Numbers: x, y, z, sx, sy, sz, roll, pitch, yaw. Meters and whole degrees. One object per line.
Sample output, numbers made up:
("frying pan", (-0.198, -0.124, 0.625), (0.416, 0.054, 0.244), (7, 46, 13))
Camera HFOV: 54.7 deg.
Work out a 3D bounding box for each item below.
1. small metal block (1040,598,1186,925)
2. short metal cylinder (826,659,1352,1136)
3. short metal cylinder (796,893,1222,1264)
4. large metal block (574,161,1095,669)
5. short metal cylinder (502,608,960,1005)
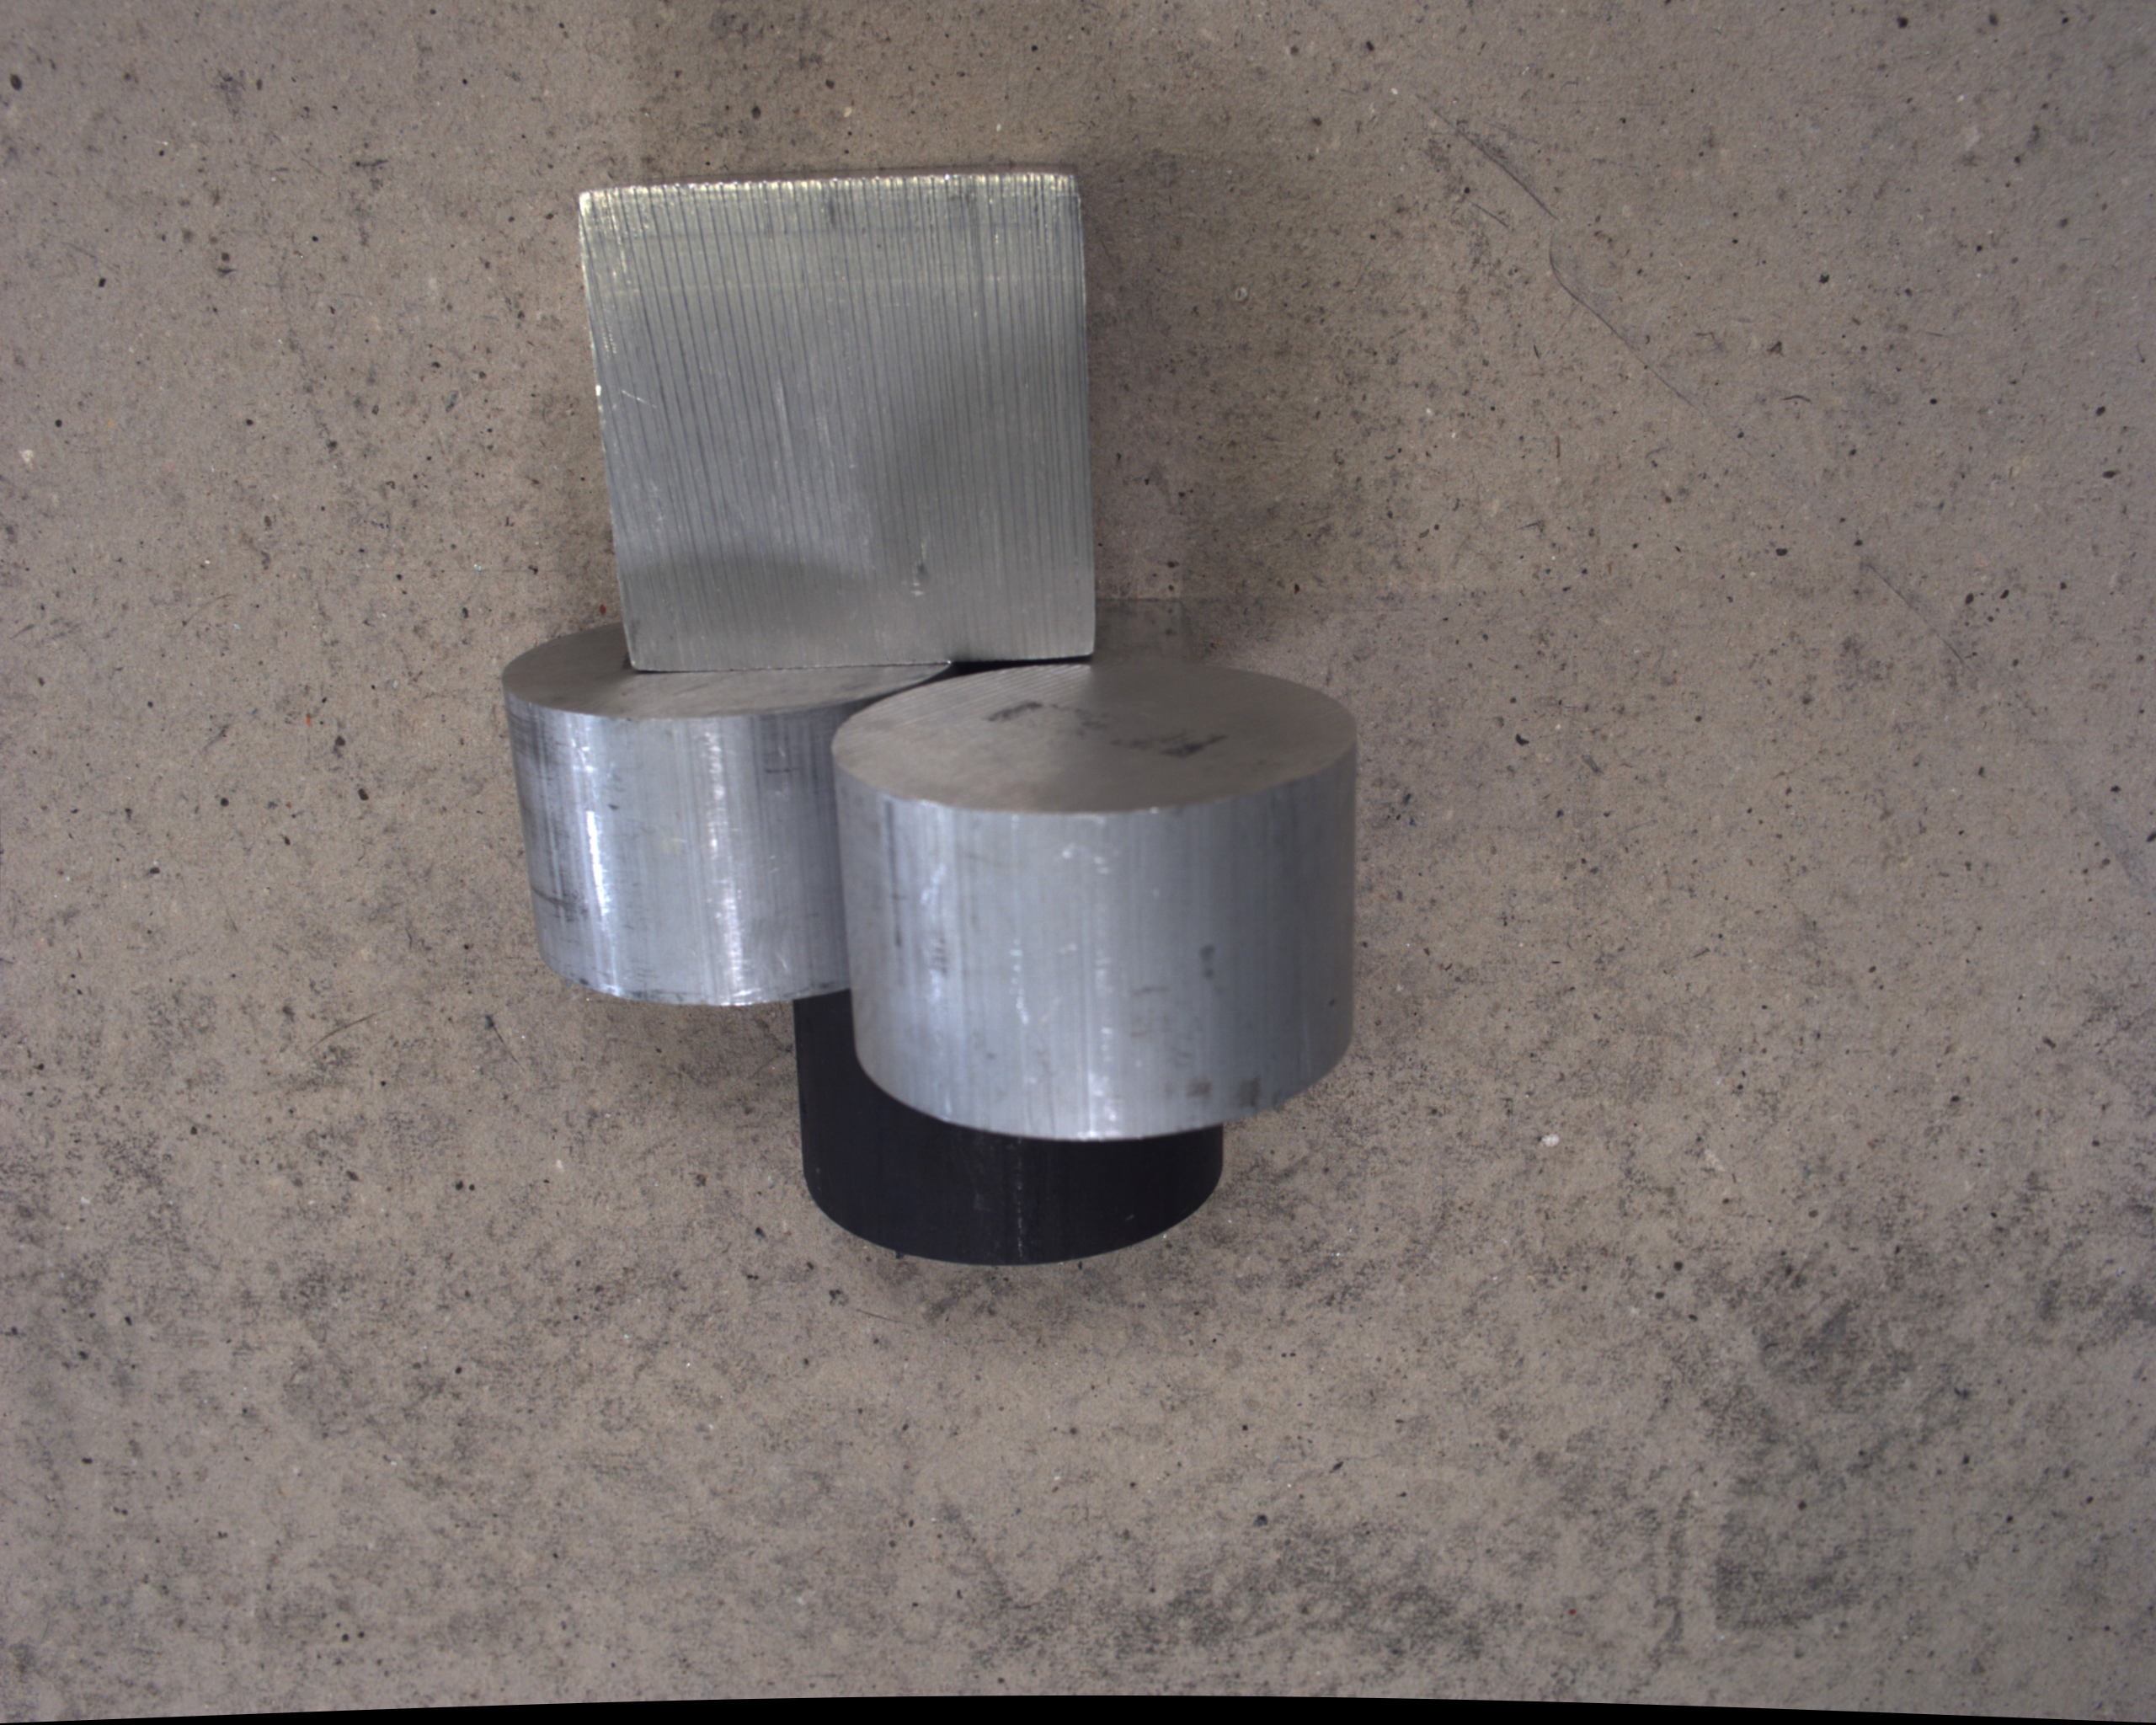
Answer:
("small metal block", (0.006, -0.020, 0.393), (0.025, 0.050, 0.050), (1, 110, -1))
("short metal cylinder", (0.003, 0.002, 0.330), (0.080, 0.080, 0.050), (-2, 110, 0))
("short metal cylinder", (-0.013, 0.033, 0.394), (0.081, 0.080, 0.050), (0, 110, 0))
("large metal block", (-0.039, -0.080, 0.368), (0.080, 0.050, 0.079), (-2, 110, 0))
("short metal cylinder", (-0.059, -0.013, 0.377), (0.080, 0.080, 0.050), (-2, 110, 0))
